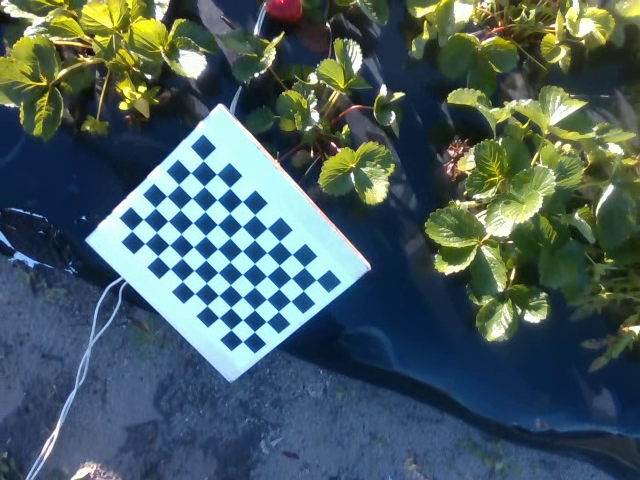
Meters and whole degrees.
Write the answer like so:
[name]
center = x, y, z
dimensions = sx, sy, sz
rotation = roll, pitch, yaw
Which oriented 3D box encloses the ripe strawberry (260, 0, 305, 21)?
[ripe strawberry]
center = -0.051, -0.365, 0.900
dimensions = 0.080, 0.063, 0.040
rotation = -25, 20, -31
